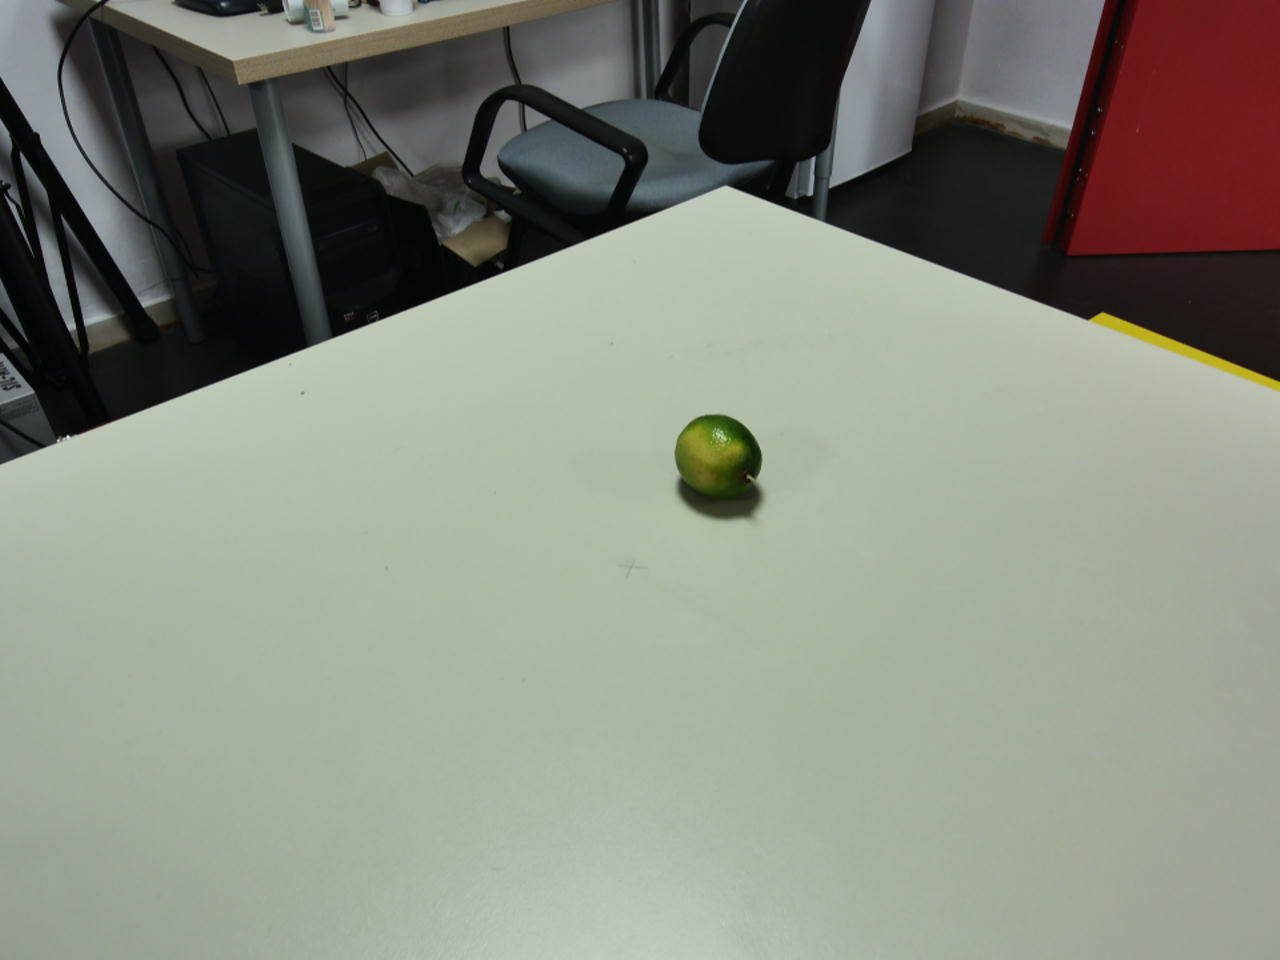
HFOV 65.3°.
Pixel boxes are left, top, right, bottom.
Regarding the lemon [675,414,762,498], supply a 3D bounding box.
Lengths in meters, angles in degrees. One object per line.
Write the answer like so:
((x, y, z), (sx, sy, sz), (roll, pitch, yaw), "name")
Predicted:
((0.048, -0.015, 0.623), (0.054, 0.050, 0.055), (6, 37, 7), "lemon")
